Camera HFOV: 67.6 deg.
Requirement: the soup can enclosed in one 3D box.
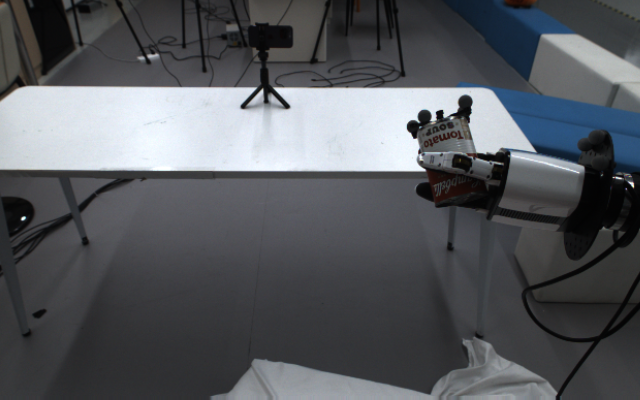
[{"bbox_3d":[0.170,-0.048,0.622,0.067,0.067,0.101,-10,80,-16],"label":"soup can"}]
